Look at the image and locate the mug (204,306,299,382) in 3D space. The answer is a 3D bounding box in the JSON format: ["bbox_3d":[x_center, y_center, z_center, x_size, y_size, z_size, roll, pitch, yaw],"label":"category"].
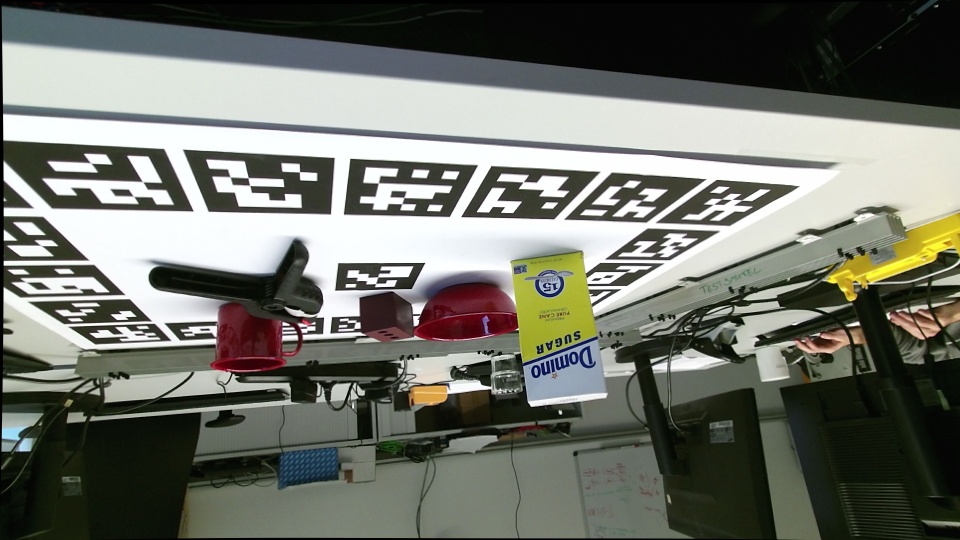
[{"bbox_3d":[-0.302,0.101,0.721,0.118,0.081,0.093,17,146,-38],"label":"mug"}]

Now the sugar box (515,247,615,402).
[{"bbox_3d":[0.099,0.064,0.651,0.093,0.175,0.045,-9,155,6],"label":"sugar box"}]

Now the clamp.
[{"bbox_3d":[-0.239,0.031,0.628,0.166,0.036,0.203,-11,155,3],"label":"clamp"}]

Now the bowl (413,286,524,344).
[{"bbox_3d":[-0.016,0.065,0.768,0.162,0.055,0.162,-6,156,-3],"label":"bowl"}]

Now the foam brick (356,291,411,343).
[{"bbox_3d":[-0.136,0.070,0.759,0.053,0.051,0.078,-12,155,7],"label":"foam brick"}]
